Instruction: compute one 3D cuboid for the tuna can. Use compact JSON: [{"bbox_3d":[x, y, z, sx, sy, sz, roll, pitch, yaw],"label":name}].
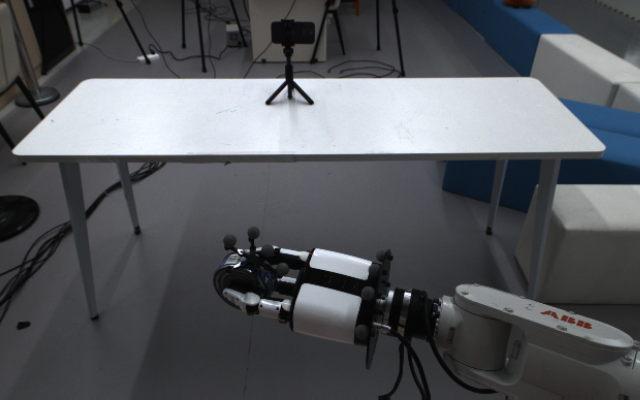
[{"bbox_3d":[-0.102,0.121,0.675,0.085,0.085,0.034,12,35,14],"label":"tuna can"}]
